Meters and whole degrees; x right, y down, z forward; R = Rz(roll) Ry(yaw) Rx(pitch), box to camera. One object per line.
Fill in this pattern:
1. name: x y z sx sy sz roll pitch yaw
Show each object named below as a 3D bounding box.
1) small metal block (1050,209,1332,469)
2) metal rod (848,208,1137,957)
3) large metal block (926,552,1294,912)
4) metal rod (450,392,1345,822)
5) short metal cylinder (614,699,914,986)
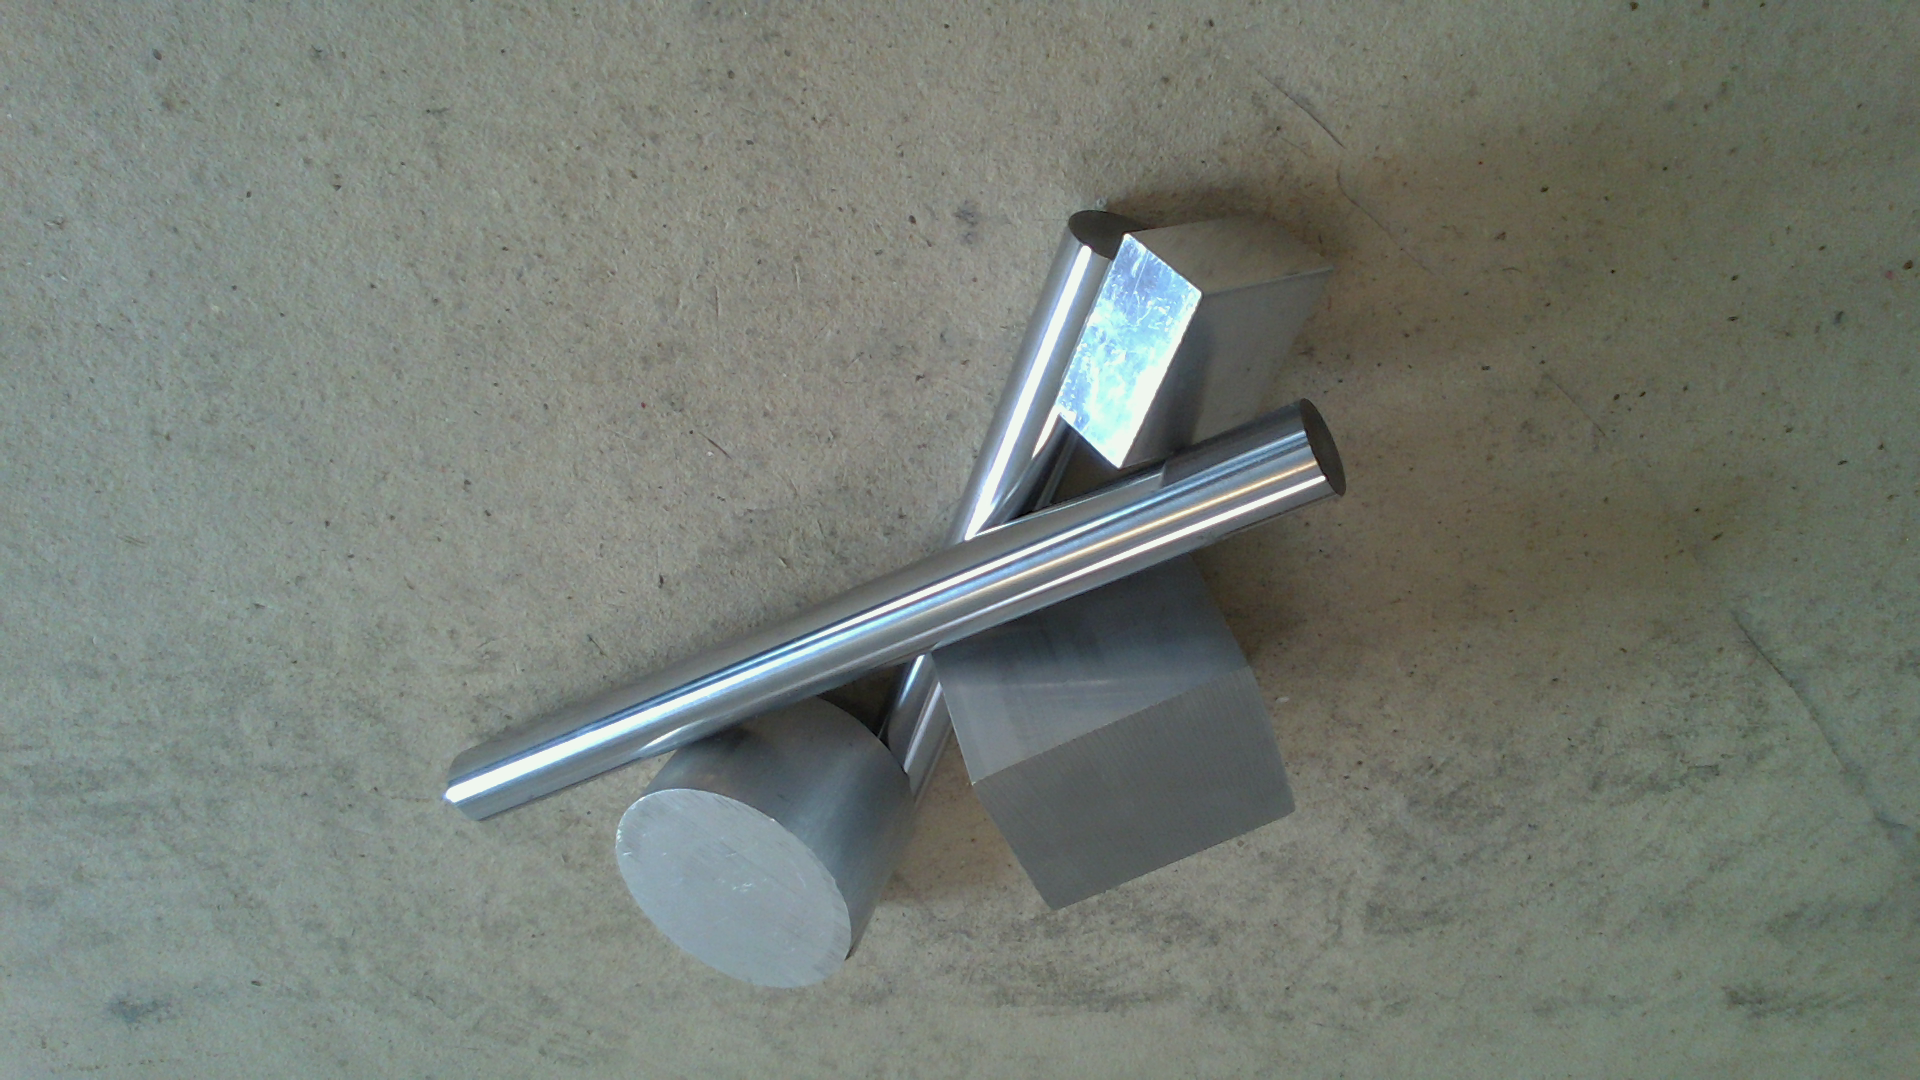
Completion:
1. small metal block: 0.055 -0.049 0.333 0.050 0.025 0.050 -18 142 -39
2. metal rod: -0.006 0.037 0.421 0.025 0.025 0.300 13 129 -11
3. large metal block: 0.045 0.055 0.402 0.080 0.050 0.080 -24 136 3
4. metal rod: -0.037 0.029 0.392 0.299 0.025 0.025 -23 127 27
5. short metal cylinder: -0.061 0.094 0.436 0.080 0.050 0.080 11 125 17
